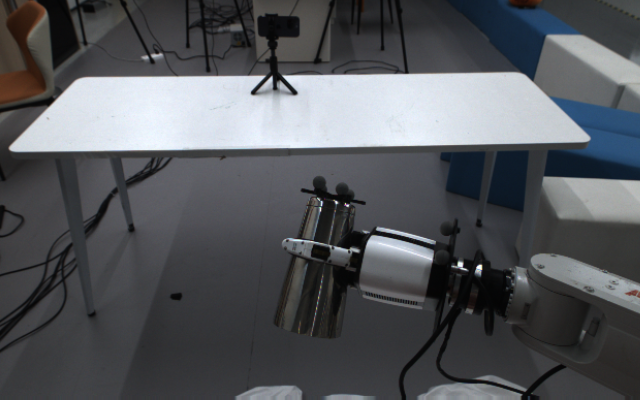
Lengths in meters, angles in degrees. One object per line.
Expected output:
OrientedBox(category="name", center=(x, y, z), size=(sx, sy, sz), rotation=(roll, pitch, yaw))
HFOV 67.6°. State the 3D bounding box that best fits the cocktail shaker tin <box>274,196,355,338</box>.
OrientedBox(category="cocktail shaker tin", center=(0.001, 0.087, 0.643), size=(0.093, 0.170, 0.093), rotation=(12, -5, 1))
